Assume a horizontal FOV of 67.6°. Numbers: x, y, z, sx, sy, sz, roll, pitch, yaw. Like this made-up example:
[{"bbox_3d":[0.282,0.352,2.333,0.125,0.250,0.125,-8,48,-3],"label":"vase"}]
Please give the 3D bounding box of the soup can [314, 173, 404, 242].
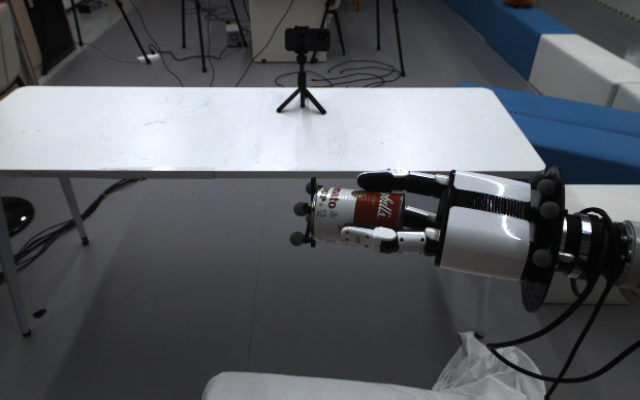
[{"bbox_3d":[0.049,0.020,0.571,0.101,0.067,0.067,5,34,13],"label":"soup can"}]
